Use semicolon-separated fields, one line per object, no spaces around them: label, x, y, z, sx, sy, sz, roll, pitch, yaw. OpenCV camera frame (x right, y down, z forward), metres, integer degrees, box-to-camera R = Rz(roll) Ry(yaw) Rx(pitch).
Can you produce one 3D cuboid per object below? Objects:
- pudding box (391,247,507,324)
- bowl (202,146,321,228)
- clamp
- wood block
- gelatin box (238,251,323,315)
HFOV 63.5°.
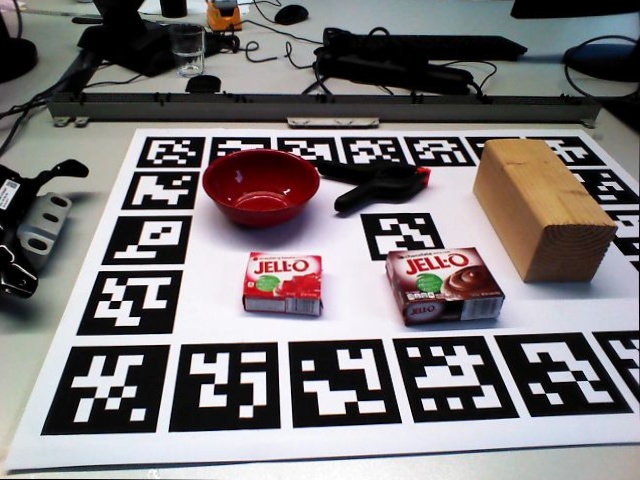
pudding box;0.144;0.050;0.595;0.114;0.039;0.089;-3;44;-3
bowl;-0.080;-0.066;0.719;0.162;0.055;0.161;2;42;-2
clamp;0.078;-0.086;0.769;0.165;0.037;0.121;-7;40;-14
wood block;0.295;-0.046;0.677;0.090;0.091;0.205;1;40;-3
gelatin box;-0.043;0.047;0.593;0.089;0.030;0.073;4;41;2
